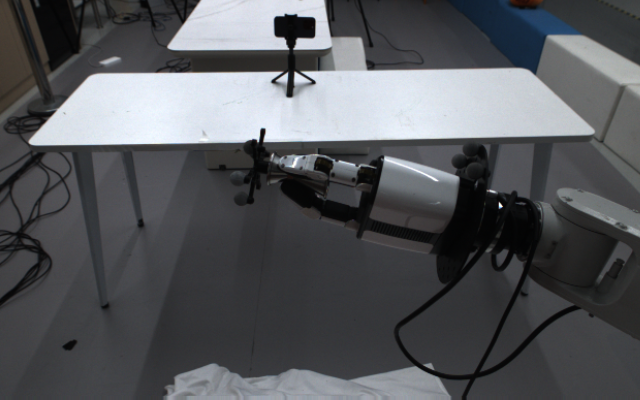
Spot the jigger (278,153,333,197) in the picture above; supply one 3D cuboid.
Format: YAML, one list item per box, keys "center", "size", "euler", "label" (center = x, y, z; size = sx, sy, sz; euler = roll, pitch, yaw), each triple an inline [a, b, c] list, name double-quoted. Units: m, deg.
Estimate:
- center: [-0.015, -0.033, 0.550]
  size: [0.071, 0.043, 0.043]
  euler: [11, 35, 3]
  label: "jigger"
